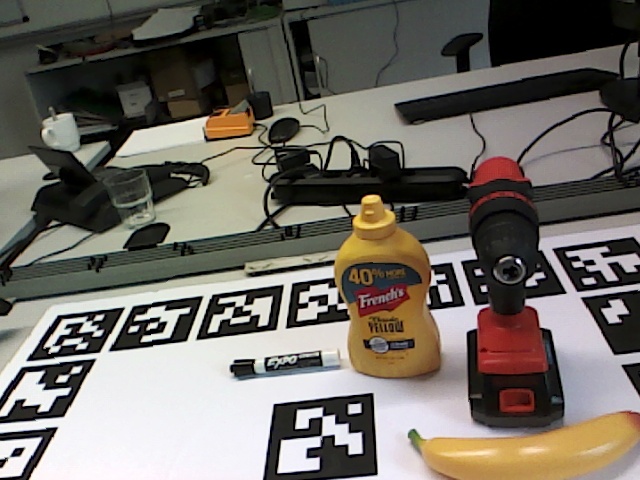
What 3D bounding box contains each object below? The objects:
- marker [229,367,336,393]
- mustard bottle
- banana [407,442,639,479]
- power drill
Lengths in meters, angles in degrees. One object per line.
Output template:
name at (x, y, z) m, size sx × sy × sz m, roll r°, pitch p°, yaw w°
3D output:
marker at (-0.043, 0.156, 0.687) m, size 0.121 × 0.019 × 0.020 m, roll -8°, pitch 30°, yaw 9°
mustard bottle at (0.065, 0.069, 0.622) m, size 0.096 × 0.191 × 0.058 m, roll -2°, pitch 30°, yaw 16°
banana at (0.169, 0.199, 0.515) m, size 0.198 × 0.038 × 0.074 m, roll -6°, pitch 31°, yaw 15°
power drill at (0.164, 0.072, 0.544) m, size 0.057 × 0.186 × 0.184 m, roll 0°, pitch 29°, yaw 18°
